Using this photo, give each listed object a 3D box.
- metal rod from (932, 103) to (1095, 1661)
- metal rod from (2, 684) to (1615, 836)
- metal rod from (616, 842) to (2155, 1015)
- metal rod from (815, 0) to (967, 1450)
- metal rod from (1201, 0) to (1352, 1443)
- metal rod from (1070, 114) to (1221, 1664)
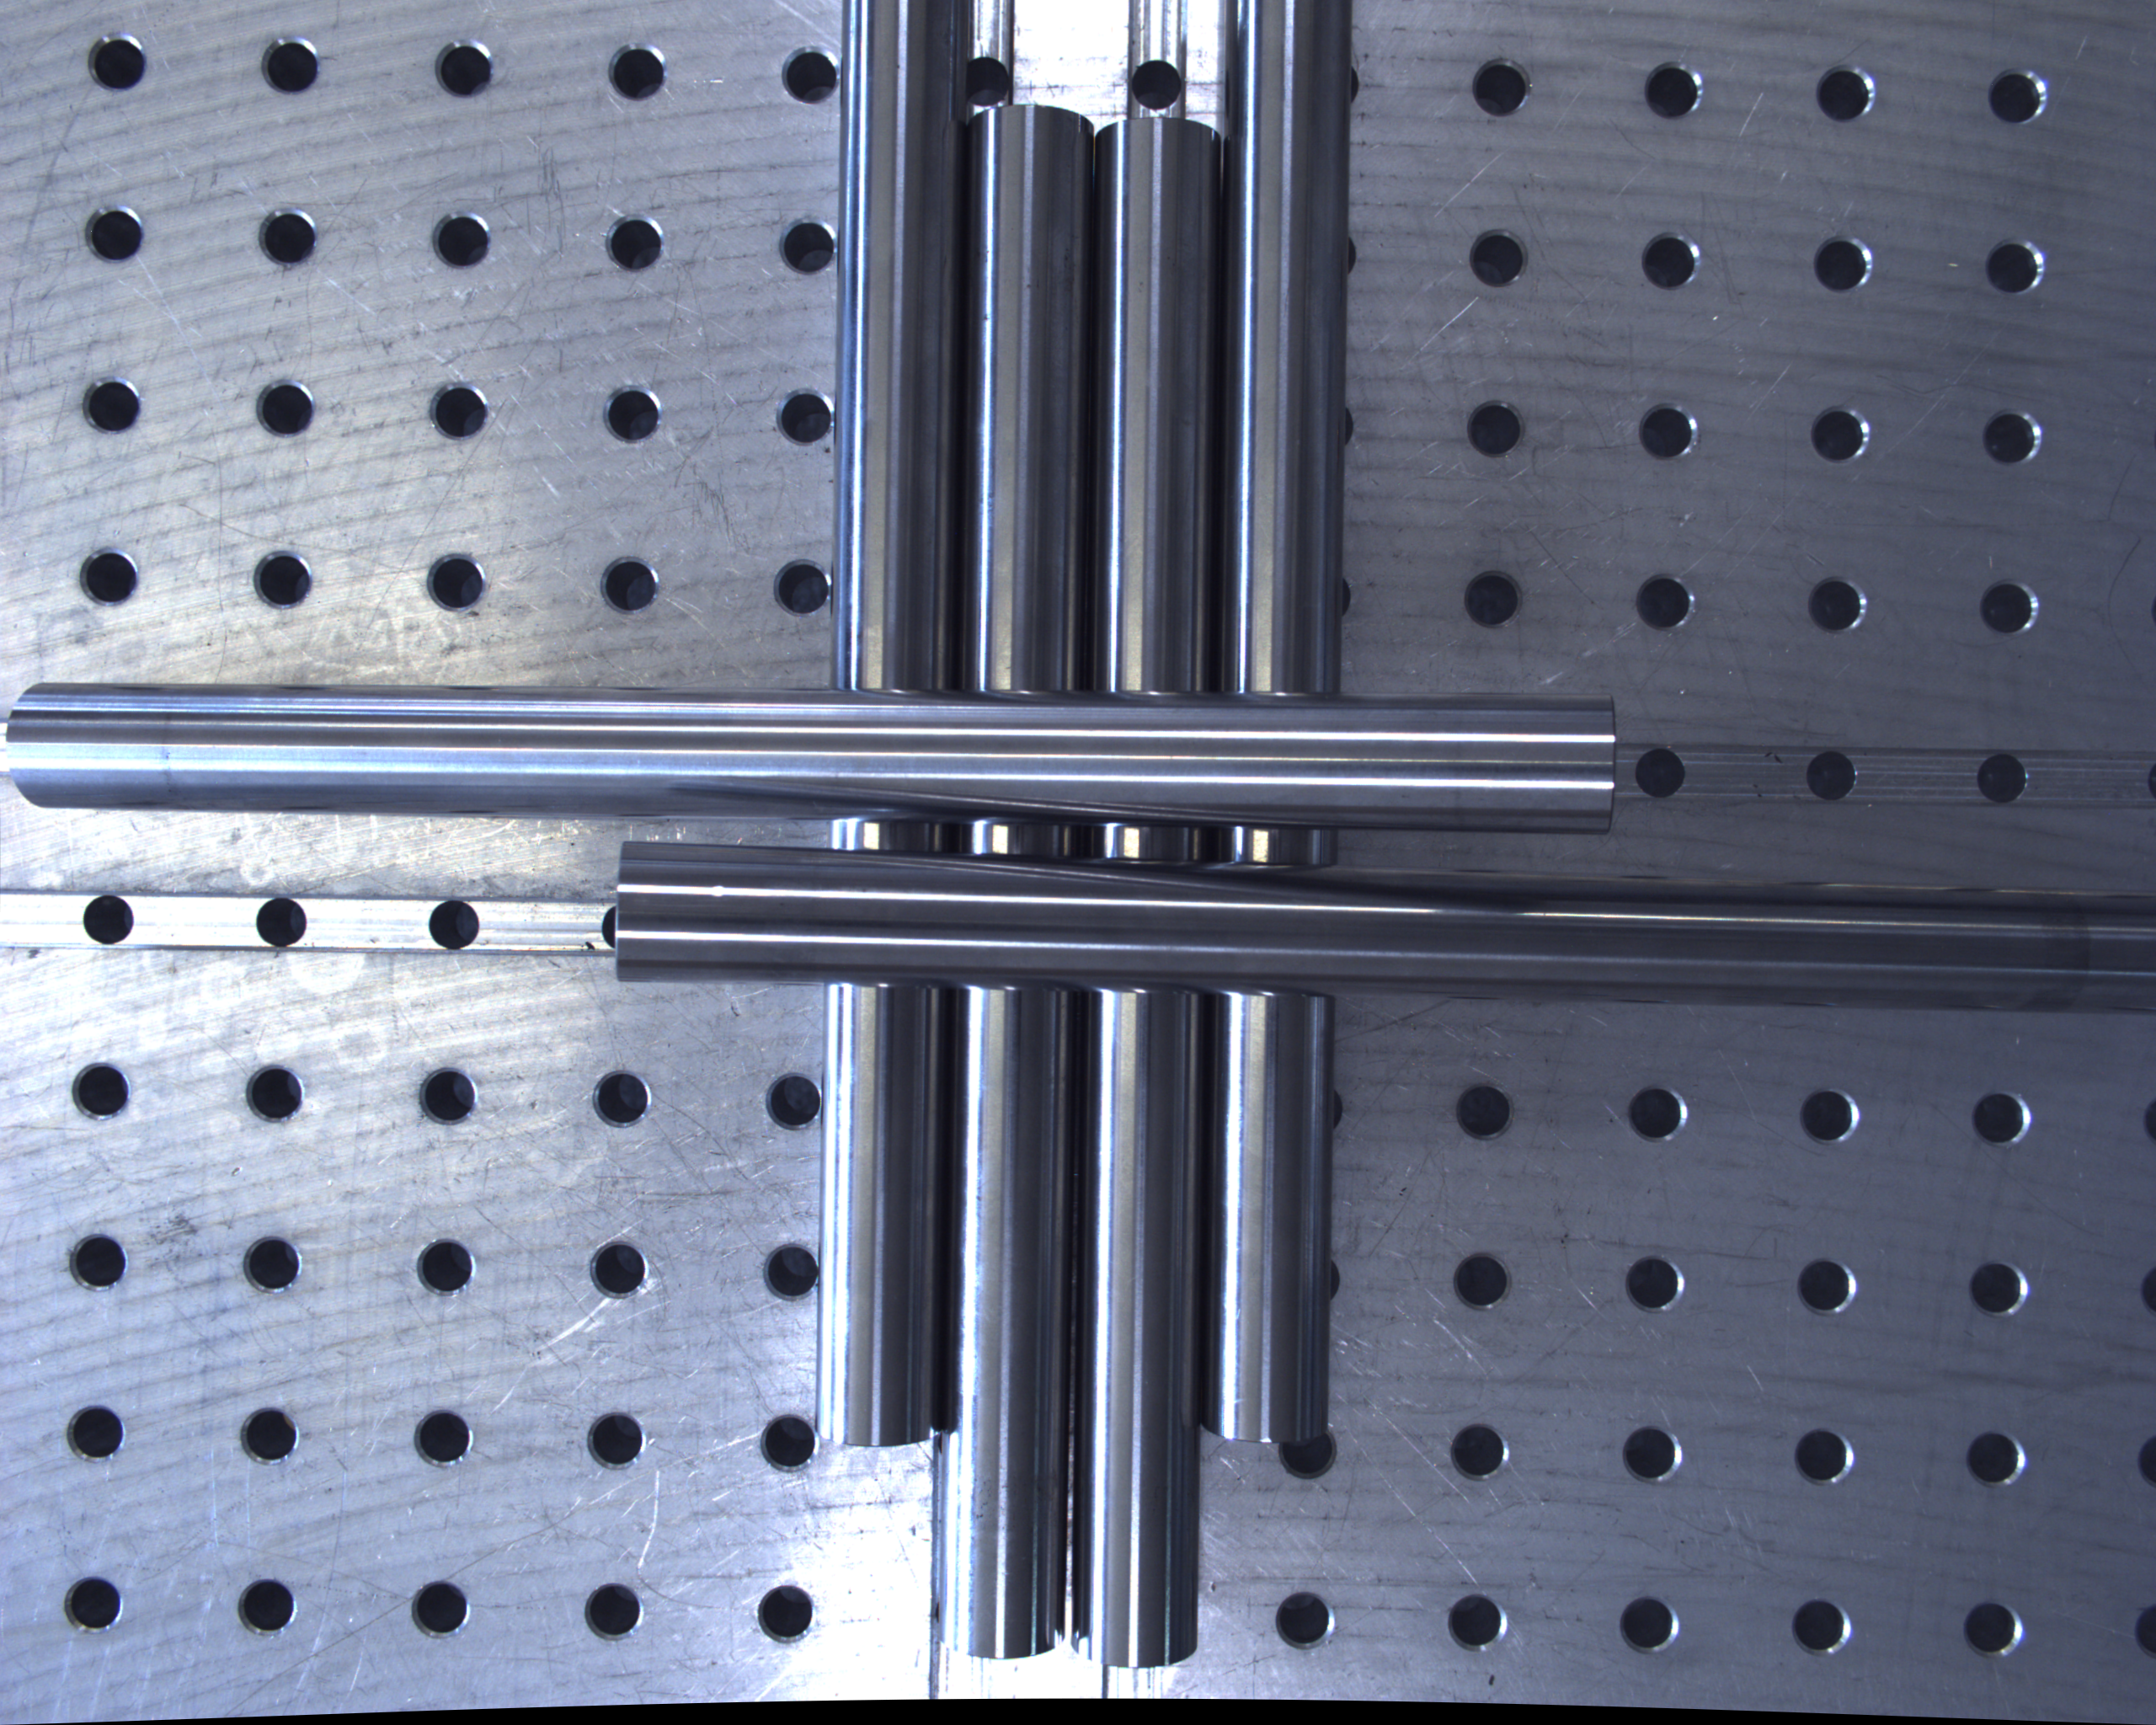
[{"bbox_3d":[-0.013,0.004,0.412,0.025,0.025,0.298,1,90,0],"label":"metal rod"},{"bbox_3d":[-0.056,-0.020,0.390,0.301,0.025,0.025,1,90,9],"label":"metal rod"},{"bbox_3d":[0.068,0.013,0.393,0.302,0.025,0.025,2,90,-9],"label":"metal rod"},{"bbox_3d":[-0.037,-0.037,0.412,0.025,0.025,0.298,1,90,0],"label":"metal rod"},{"bbox_3d":[0.039,-0.038,0.413,0.025,0.025,0.298,1,90,0],"label":"metal rod"},{"bbox_3d":[0.014,0.005,0.414,0.025,0.025,0.298,1,90,0],"label":"metal rod"}]
